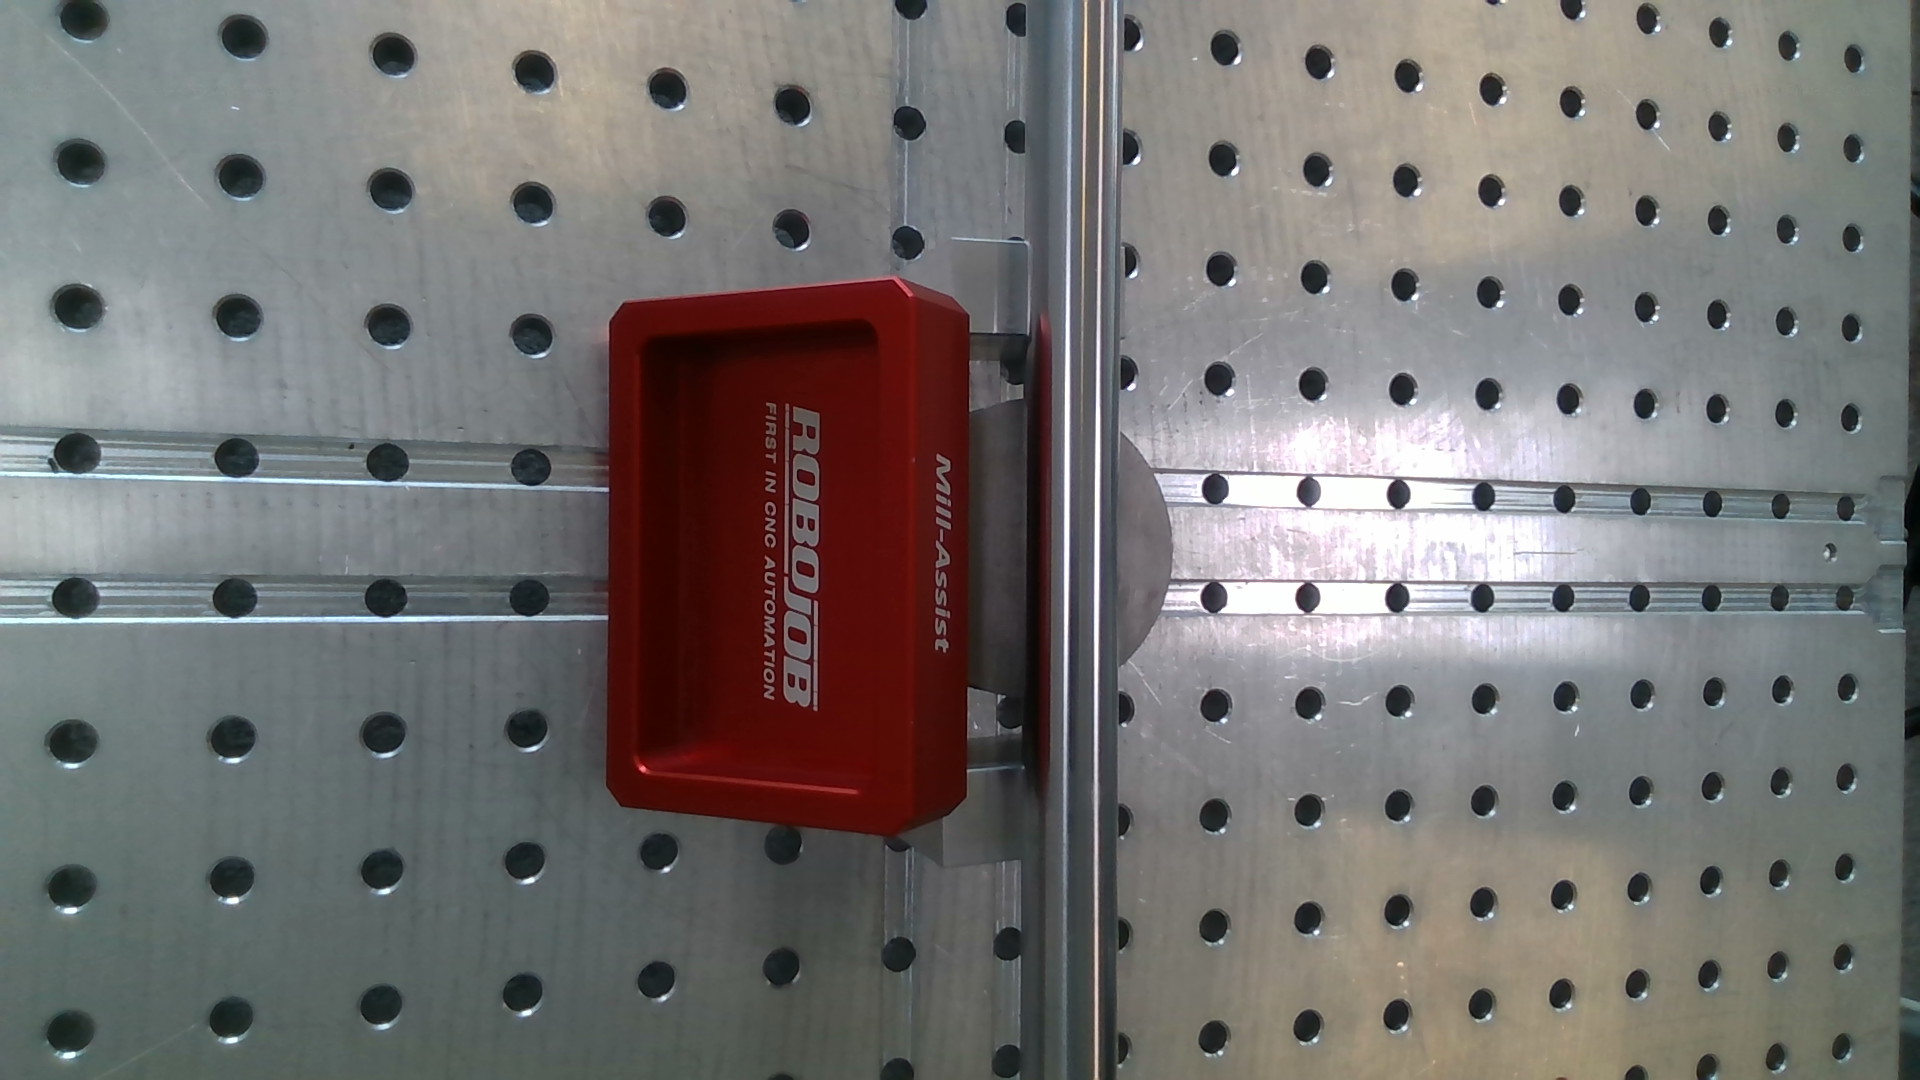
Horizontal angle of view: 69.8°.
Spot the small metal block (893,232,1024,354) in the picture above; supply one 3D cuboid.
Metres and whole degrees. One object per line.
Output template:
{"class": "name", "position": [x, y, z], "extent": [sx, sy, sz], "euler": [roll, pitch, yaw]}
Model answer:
{"class": "small metal block", "position": [0.013, -0.067, 0.388], "extent": [0.050, 0.050, 0.025], "euler": [-1, 90, -20]}

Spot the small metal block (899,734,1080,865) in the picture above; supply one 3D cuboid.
{"class": "small metal block", "position": [0.010, 0.071, 0.388], "extent": [0.050, 0.050, 0.025], "euler": [-1, 90, -20]}

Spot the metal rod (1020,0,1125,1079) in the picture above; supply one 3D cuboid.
{"class": "metal rod", "position": [0.029, -0.009, 0.354], "extent": [0.025, 0.025, 0.300], "euler": [1, 90, -20]}

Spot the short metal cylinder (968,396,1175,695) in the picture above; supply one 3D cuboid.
{"class": "short metal cylinder", "position": [0.013, 0.002, 0.388], "extent": [0.080, 0.050, 0.080], "euler": [0, 90, -20]}

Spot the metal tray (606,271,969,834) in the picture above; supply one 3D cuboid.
{"class": "metal tray", "position": [-0.045, 0.003, 0.348], "extent": [0.030, 0.090, 0.130], "euler": [0, 90, -63]}
